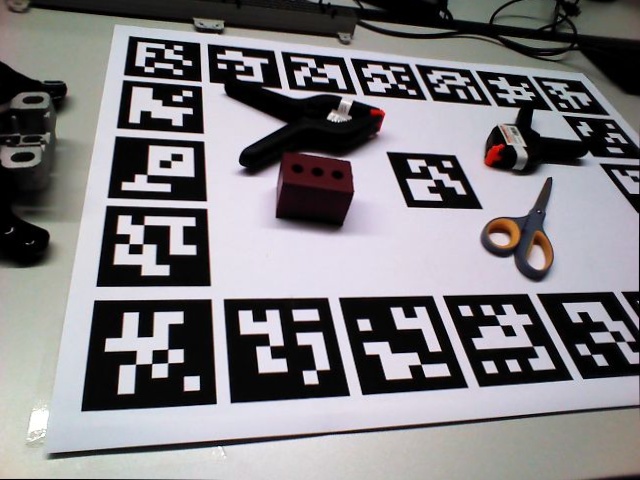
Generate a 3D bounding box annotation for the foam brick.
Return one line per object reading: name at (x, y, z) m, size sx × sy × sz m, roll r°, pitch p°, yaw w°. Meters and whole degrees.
foam brick at (-0.005, -0.048, 0.567) m, size 0.078 × 0.051 × 0.052 m, roll 4°, pitch 51°, yaw -6°

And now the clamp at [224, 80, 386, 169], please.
clamp at (-0.012, -0.149, 0.659) m, size 0.202 × 0.037 × 0.165 m, roll -2°, pitch 48°, yaw -18°

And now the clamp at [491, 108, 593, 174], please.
clamp at (0.304, -0.137, 0.739) m, size 0.164 × 0.037 × 0.122 m, roll -25°, pitch 67°, yaw -30°

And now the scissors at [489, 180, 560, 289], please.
scissors at (0.267, -0.024, 0.636) m, size 0.088 × 0.016 × 0.201 m, roll 35°, pitch 49°, yaw 5°
